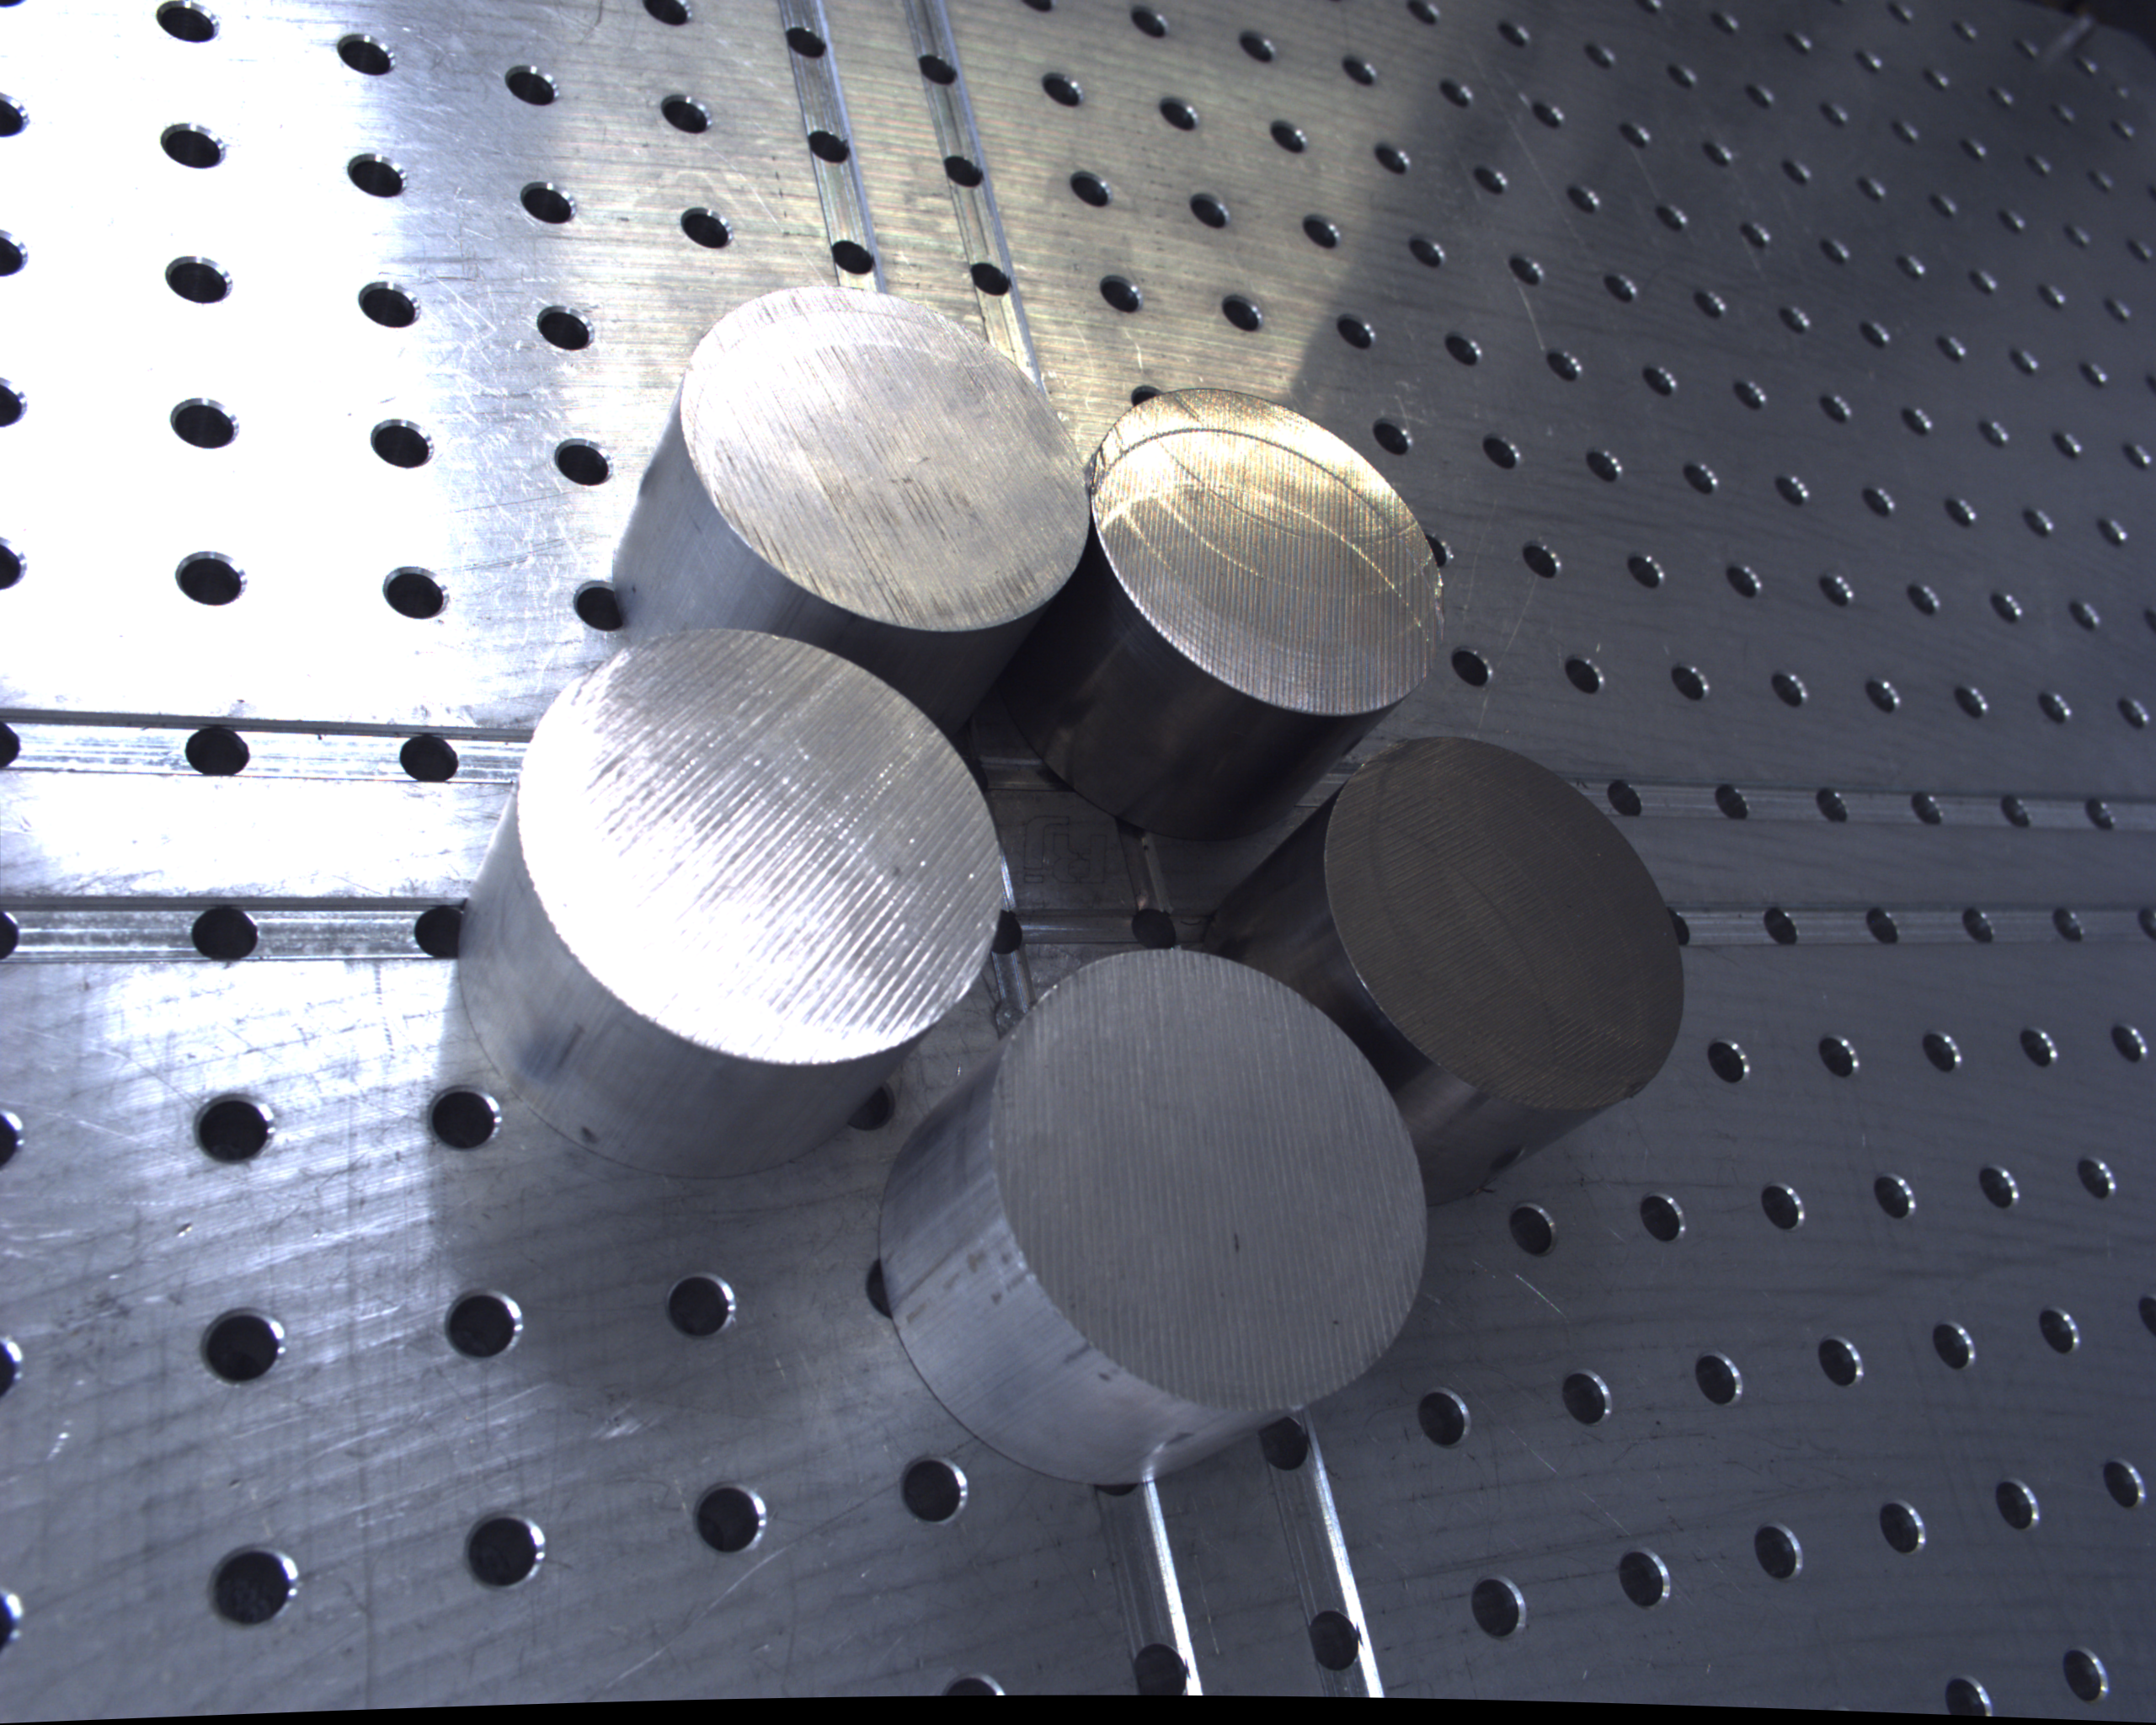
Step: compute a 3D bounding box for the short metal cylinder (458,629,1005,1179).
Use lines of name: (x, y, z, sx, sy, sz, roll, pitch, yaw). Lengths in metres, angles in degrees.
short metal cylinder: (-0.059, 0.007, 0.355, 0.081, 0.050, 0.080, 13, 56, -21)

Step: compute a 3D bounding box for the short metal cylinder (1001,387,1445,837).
short metal cylinder: (0.029, -0.052, 0.438, 0.081, 0.050, 0.080, 13, 57, -21)

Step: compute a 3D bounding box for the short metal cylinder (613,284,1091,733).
short metal cylinder: (-0.045, -0.065, 0.407, 0.081, 0.050, 0.080, 14, 56, -21)

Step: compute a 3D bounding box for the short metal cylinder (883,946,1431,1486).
short metal cylinder: (0.013, 0.061, 0.360, 0.081, 0.050, 0.080, 13, 56, -20)

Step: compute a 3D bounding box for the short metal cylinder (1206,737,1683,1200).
short metal cylinder: (0.072, 0.022, 0.416, 0.081, 0.050, 0.080, 13, 57, -22)
